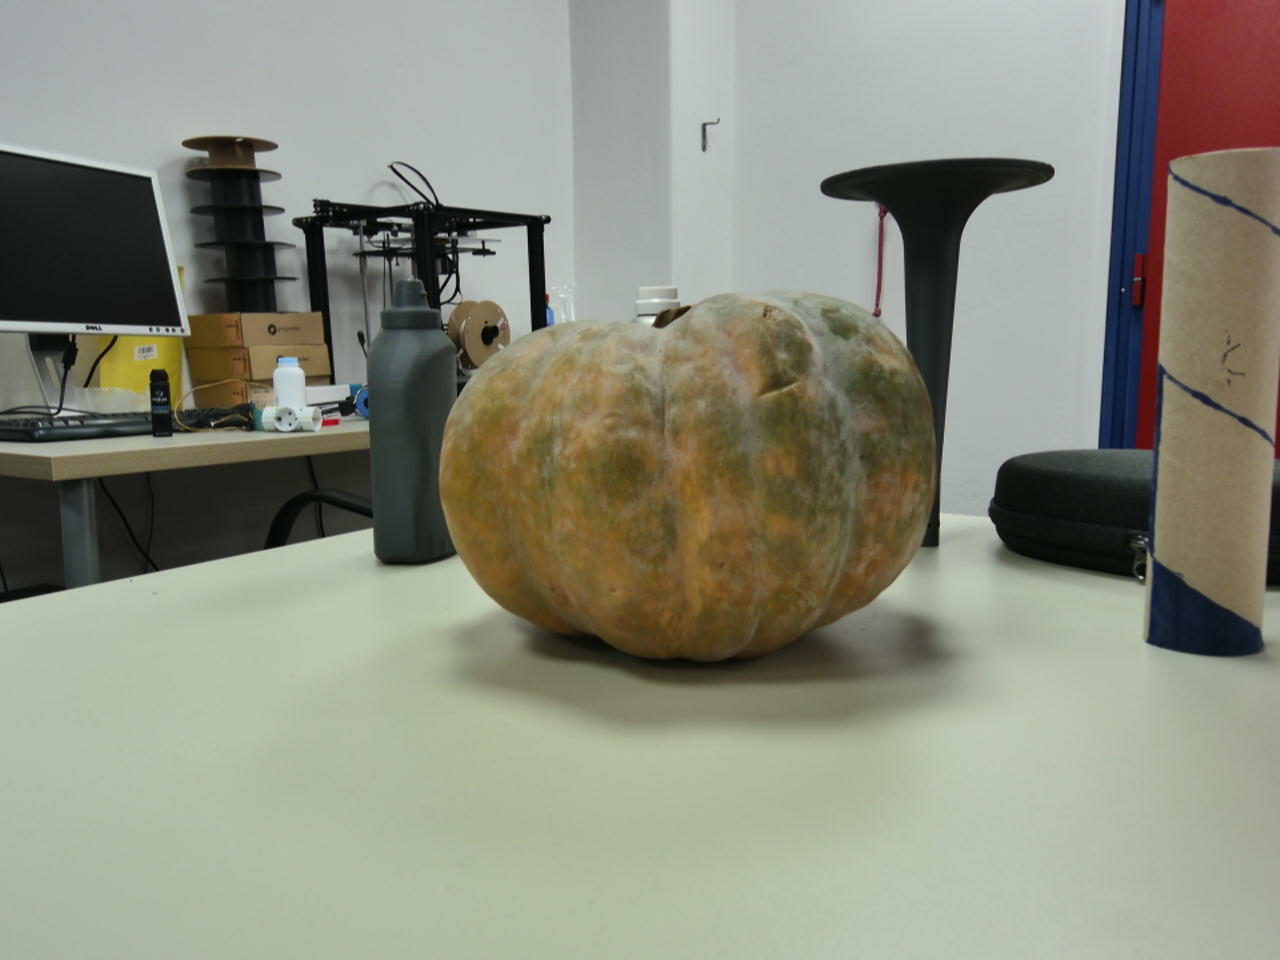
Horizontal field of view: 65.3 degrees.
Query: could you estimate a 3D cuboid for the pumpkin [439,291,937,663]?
[{"bbox_3d":[0.021,-0.005,0.502,0.252,0.168,0.252,0,6,0],"label":"pumpkin"}]
